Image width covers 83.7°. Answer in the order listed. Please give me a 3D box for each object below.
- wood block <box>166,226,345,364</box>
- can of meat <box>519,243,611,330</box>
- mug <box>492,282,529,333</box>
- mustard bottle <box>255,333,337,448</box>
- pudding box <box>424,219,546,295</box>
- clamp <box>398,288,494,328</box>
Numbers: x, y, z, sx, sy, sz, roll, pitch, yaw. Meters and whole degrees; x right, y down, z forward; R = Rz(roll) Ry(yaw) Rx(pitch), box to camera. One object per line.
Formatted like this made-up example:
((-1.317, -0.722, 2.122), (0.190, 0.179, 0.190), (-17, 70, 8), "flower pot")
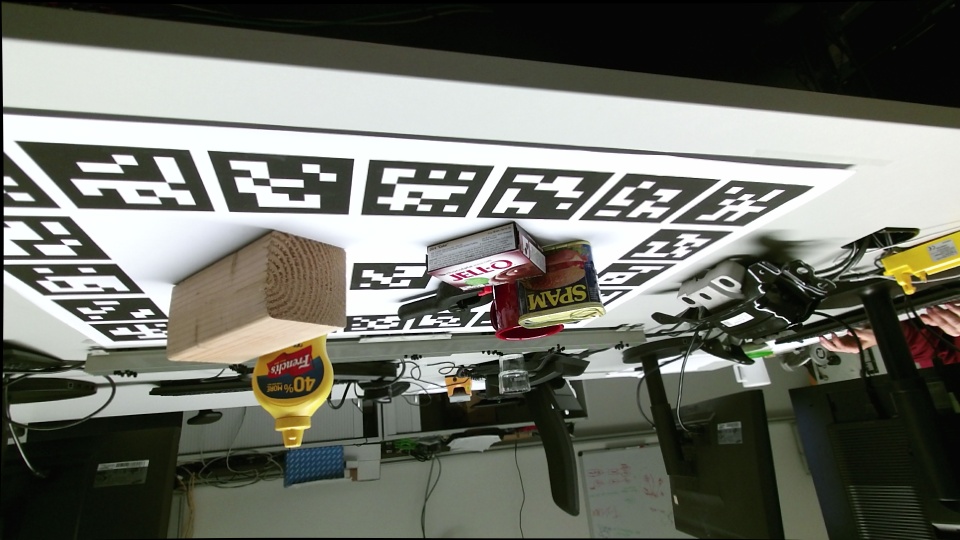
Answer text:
((-0.250, 0.037, 0.592), (0.206, 0.090, 0.090), (-20, 157, 33), "wood block")
((0.099, 0.022, 0.646), (0.102, 0.083, 0.058), (-12, 156, 12), "can of meat")
((0.057, 0.039, 0.749), (0.094, 0.081, 0.117), (10, 150, -36), "mug")
((-0.230, 0.129, 0.674), (0.096, 0.190, 0.058), (-3, 157, -12), "mustard bottle")
((0.006, -0.012, 0.610), (0.114, 0.038, 0.090), (-15, 156, 22), "pudding box")
((-0.033, 0.051, 0.763), (0.122, 0.036, 0.165), (10, 150, -33), "clamp")
